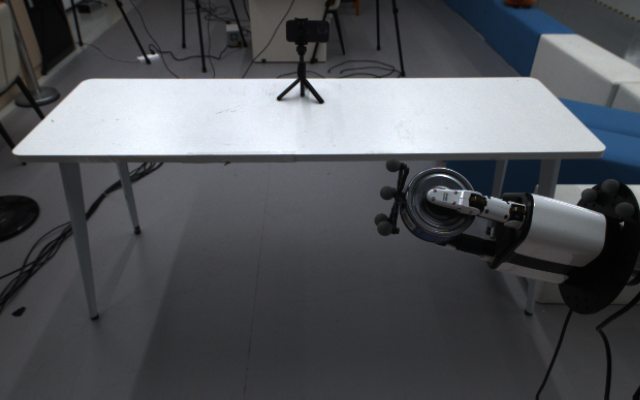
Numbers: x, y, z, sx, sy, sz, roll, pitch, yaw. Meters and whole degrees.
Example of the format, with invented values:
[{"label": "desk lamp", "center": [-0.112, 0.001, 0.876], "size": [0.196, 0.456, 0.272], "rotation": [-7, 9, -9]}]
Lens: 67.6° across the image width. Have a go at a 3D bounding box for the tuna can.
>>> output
[{"label": "tuna can", "center": [0.141, 0.003, 0.573], "size": [0.085, 0.034, 0.085], "rotation": [2, 73, -6]}]
